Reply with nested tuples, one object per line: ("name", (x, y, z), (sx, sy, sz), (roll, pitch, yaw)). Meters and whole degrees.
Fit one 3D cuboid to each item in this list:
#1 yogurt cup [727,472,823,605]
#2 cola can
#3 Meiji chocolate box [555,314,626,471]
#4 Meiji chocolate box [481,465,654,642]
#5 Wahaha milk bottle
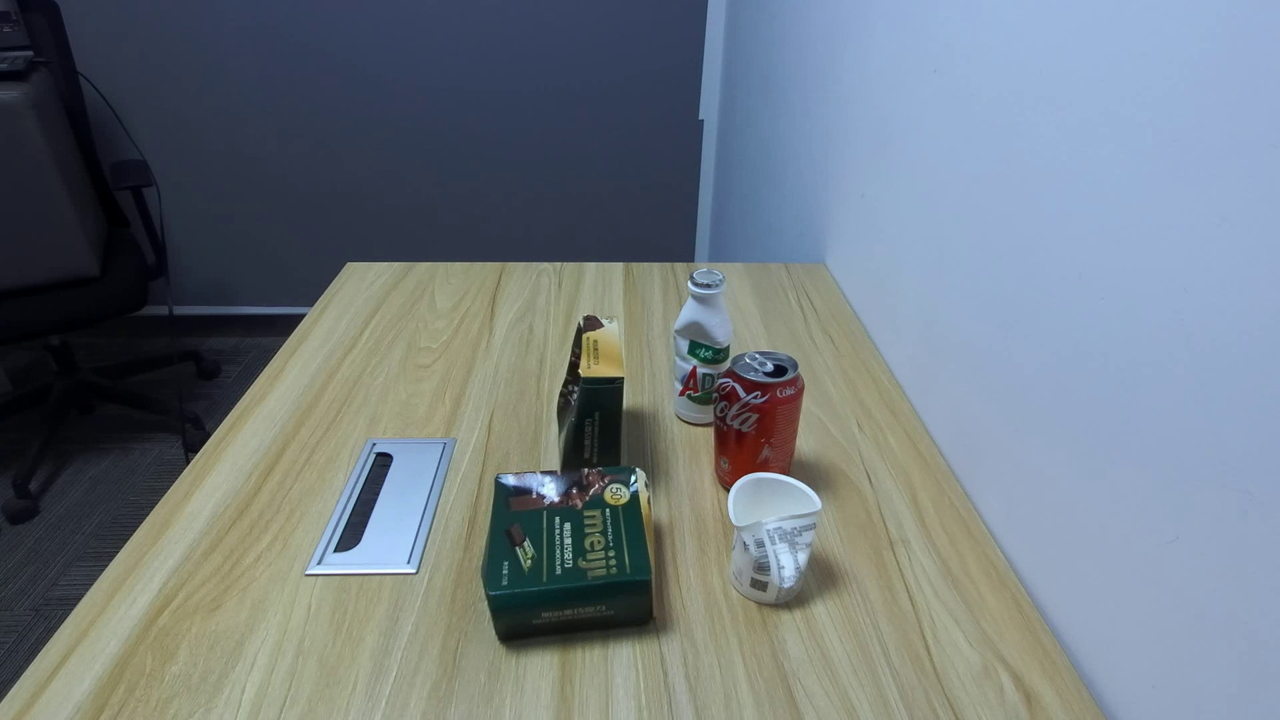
("yogurt cup", (0.091, 0.128, 0.503), (0.067, 0.070, 0.067), (-2, 31, 1))
("cola can", (0.096, 0.052, 0.580), (0.072, 0.117, 0.065), (-6, 34, -12))
("Meiji chocolate box", (-0.041, 0.034, 0.614), (0.052, 0.117, 0.117), (4, 31, -11))
("Meiji chocolate box", (-0.049, 0.137, 0.507), (0.123, 0.058, 0.115), (-3, 34, -5))
("Wahaha milk bottle", (0.058, -0.011, 0.649), (0.056, 0.148, 0.056), (1, 34, 0))
